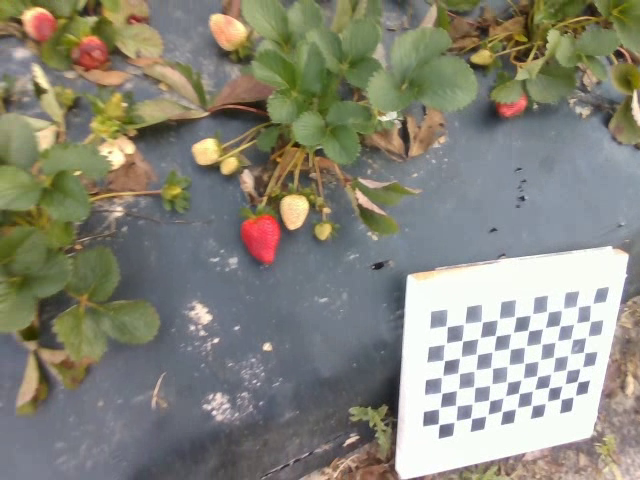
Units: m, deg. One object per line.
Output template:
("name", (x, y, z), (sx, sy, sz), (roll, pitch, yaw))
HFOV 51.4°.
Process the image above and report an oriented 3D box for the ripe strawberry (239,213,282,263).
("ripe strawberry", (-0.061, -0.002, 0.684), (0.050, 0.059, 0.034), (-16, -24, -12))
